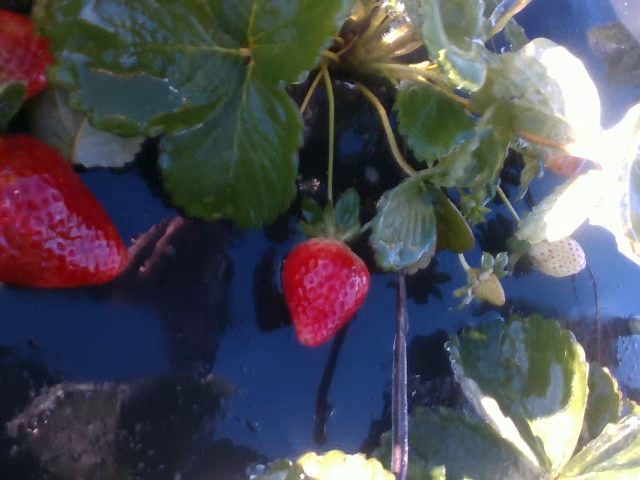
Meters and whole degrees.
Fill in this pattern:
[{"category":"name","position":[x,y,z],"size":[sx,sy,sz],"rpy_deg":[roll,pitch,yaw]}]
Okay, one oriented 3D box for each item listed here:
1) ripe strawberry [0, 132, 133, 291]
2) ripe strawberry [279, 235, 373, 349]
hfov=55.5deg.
[{"category":"ripe strawberry","position":[-0.077,-0.001,0.173],"size":[0.056,0.044,0.040],"rpy_deg":[43,-13,-36]},{"category":"ripe strawberry","position":[0.003,0.021,0.219],"size":[0.039,0.047,0.040],"rpy_deg":[29,-16,-38]}]
